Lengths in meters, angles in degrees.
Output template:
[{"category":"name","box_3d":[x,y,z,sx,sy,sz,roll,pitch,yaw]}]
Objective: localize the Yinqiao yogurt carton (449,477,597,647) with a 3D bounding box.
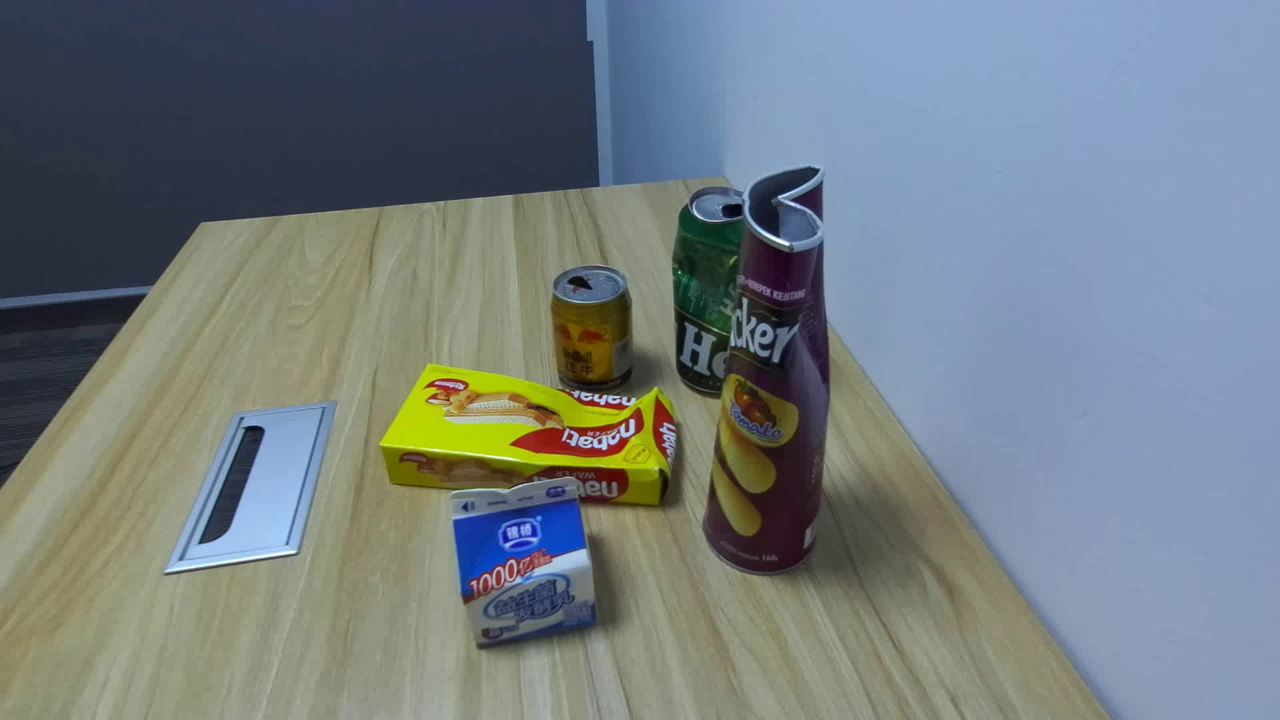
[{"category":"Yinqiao yogurt carton","box_3d":[-0.068,0.105,0.414,0.076,0.092,0.073,-8,36,-10]}]

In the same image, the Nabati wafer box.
[{"category":"Nabati wafer box","box_3d":[-0.073,0.052,0.529,0.204,0.042,0.107,5,38,7]}]

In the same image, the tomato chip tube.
[{"category":"tomato chip tube","box_3d":[0.080,0.019,0.402,0.078,0.235,0.076,-18,40,-22]}]

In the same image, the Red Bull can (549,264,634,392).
[{"category":"Red Bull can","box_3d":[-0.039,-0.024,0.588,0.067,0.093,0.067,-1,37,1]}]
